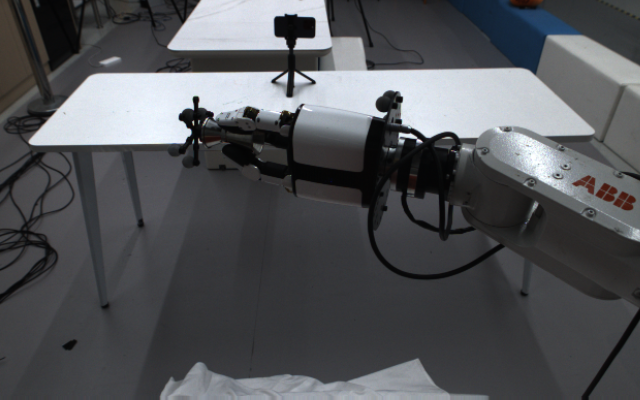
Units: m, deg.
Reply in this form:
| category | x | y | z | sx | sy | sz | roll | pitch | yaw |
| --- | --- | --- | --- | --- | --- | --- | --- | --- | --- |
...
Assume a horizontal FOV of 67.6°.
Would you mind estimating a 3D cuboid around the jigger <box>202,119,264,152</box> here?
| category | x | y | z | sx | sy | sz | roll | pitch | yaw |
| --- | --- | --- | --- | --- | --- | --- | --- | --- | --- |
| jigger | -0.105 | -0.086 | 0.604 | 0.071 | 0.043 | 0.043 | 6 | 35 | 12 |
